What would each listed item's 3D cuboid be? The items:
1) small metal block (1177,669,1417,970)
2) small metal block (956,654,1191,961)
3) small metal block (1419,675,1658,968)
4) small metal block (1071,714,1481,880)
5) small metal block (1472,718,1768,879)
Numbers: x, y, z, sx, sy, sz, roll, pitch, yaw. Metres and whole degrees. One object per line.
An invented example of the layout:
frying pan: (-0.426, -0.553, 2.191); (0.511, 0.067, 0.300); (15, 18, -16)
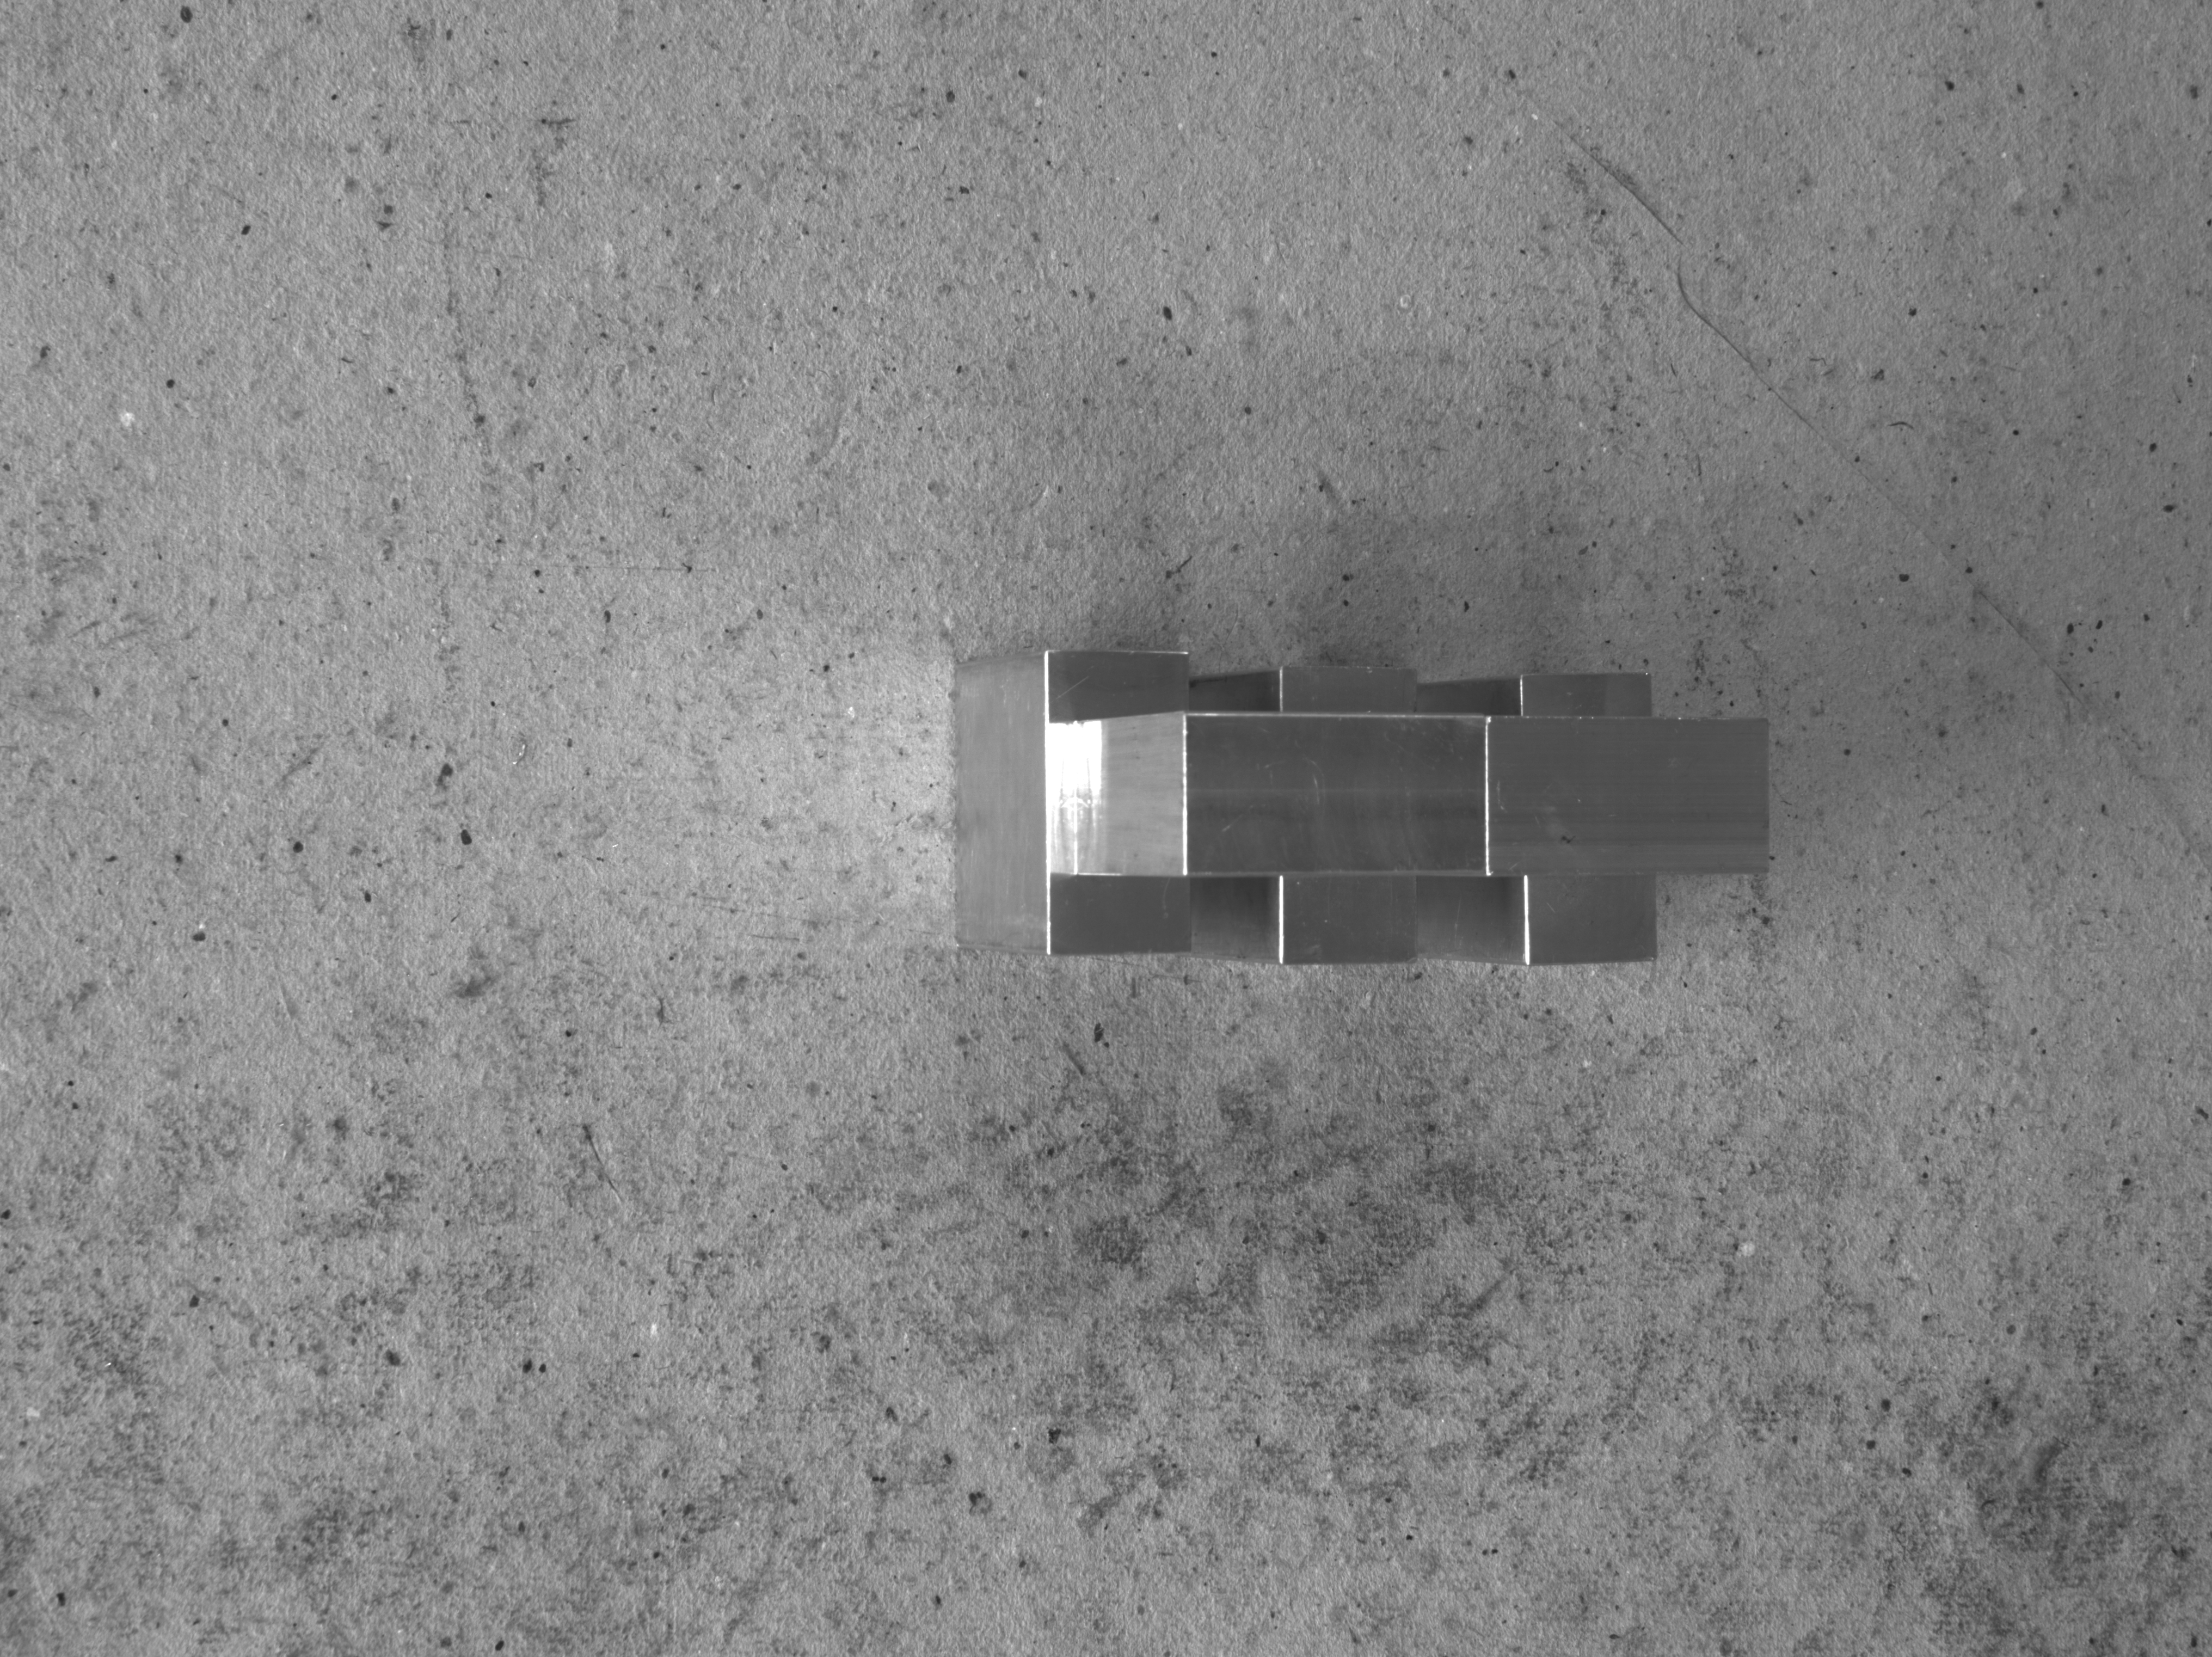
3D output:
small metal block: (0.032, -0.001, 0.643); (0.025, 0.050, 0.050); (-1, 90, -19)
small metal block: (-0.006, -0.003, 0.628); (0.025, 0.050, 0.050); (-1, 90, -19)
small metal block: (0.075, -0.001, 0.658); (0.025, 0.050, 0.050); (-1, 90, -19)
small metal block: (0.026, -0.005, 0.588); (0.050, 0.050, 0.025); (0, 90, -20)
small metal block: (0.074, -0.005, 0.604); (0.050, 0.050, 0.025); (0, 90, -20)
